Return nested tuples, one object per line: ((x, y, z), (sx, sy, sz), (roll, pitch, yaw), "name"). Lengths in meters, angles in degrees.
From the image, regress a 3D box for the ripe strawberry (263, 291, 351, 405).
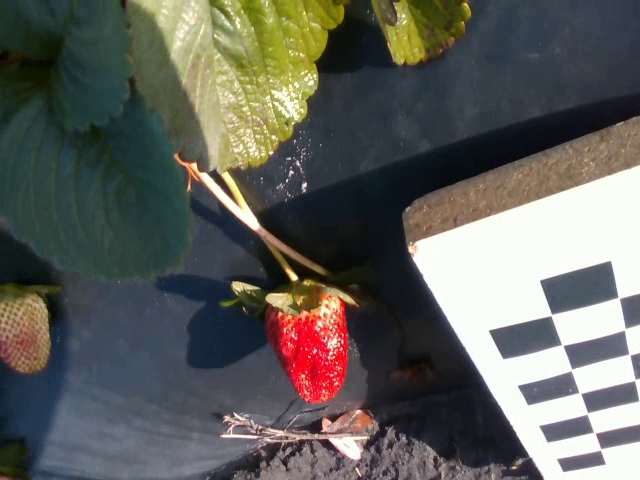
((-0.002, 0.015, 0.094), (0.016, 0.023, 0.015), (-14, -4, 12), "ripe strawberry")
